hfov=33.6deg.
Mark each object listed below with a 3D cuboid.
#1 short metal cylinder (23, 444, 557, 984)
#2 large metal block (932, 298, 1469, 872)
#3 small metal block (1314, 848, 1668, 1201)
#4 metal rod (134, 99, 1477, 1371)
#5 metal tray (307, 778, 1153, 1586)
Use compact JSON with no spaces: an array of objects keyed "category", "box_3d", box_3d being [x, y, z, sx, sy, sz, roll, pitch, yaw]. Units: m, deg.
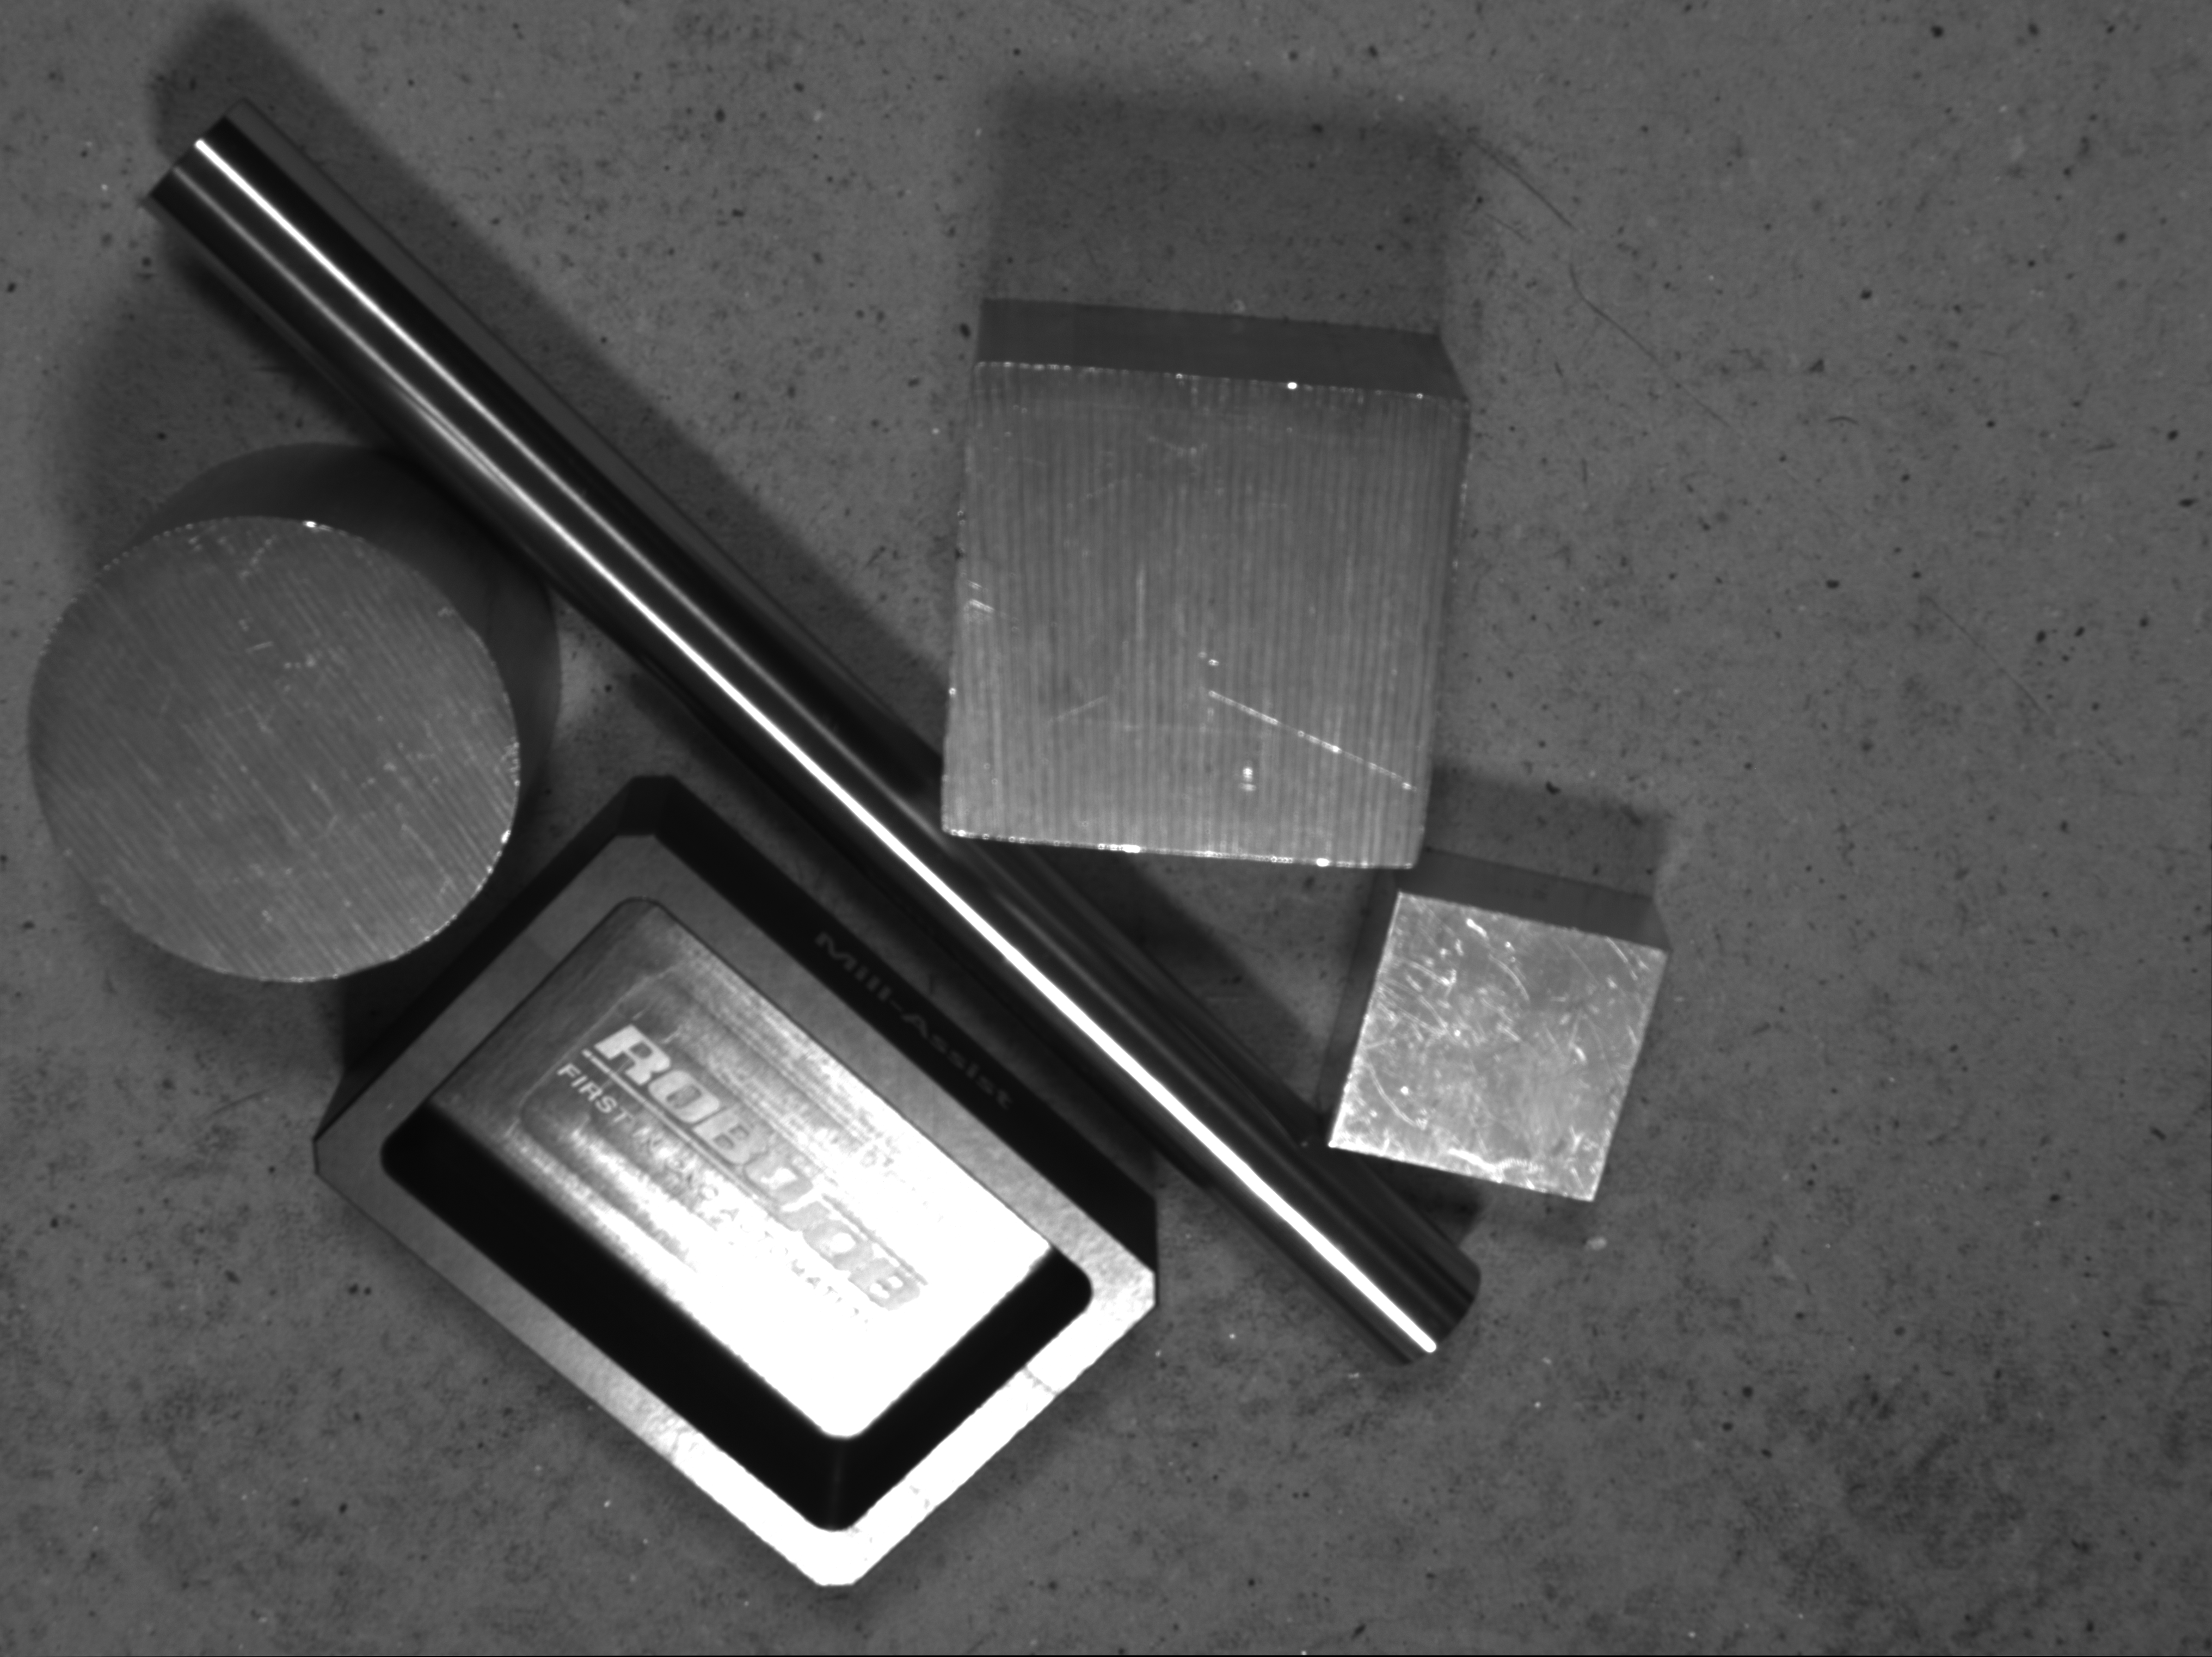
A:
[{"category":"short metal cylinder","box_3d":[-0.137,-0.020,0.621,0.080,0.050,0.080,0,110,-1]},{"category":"large metal block","box_3d":[0.014,-0.042,0.615,0.080,0.050,0.080,4,110,-2]},{"category":"small metal block","box_3d":[0.068,0.034,0.657,0.050,0.025,0.050,12,109,-5]},{"category":"metal rod","box_3d":[-0.046,-0.010,0.638,0.025,0.025,0.300,-43,105,13]},{"category":"metal tray","box_3d":[-0.066,0.065,0.663,0.130,0.030,0.090,42,104,-14]}]
